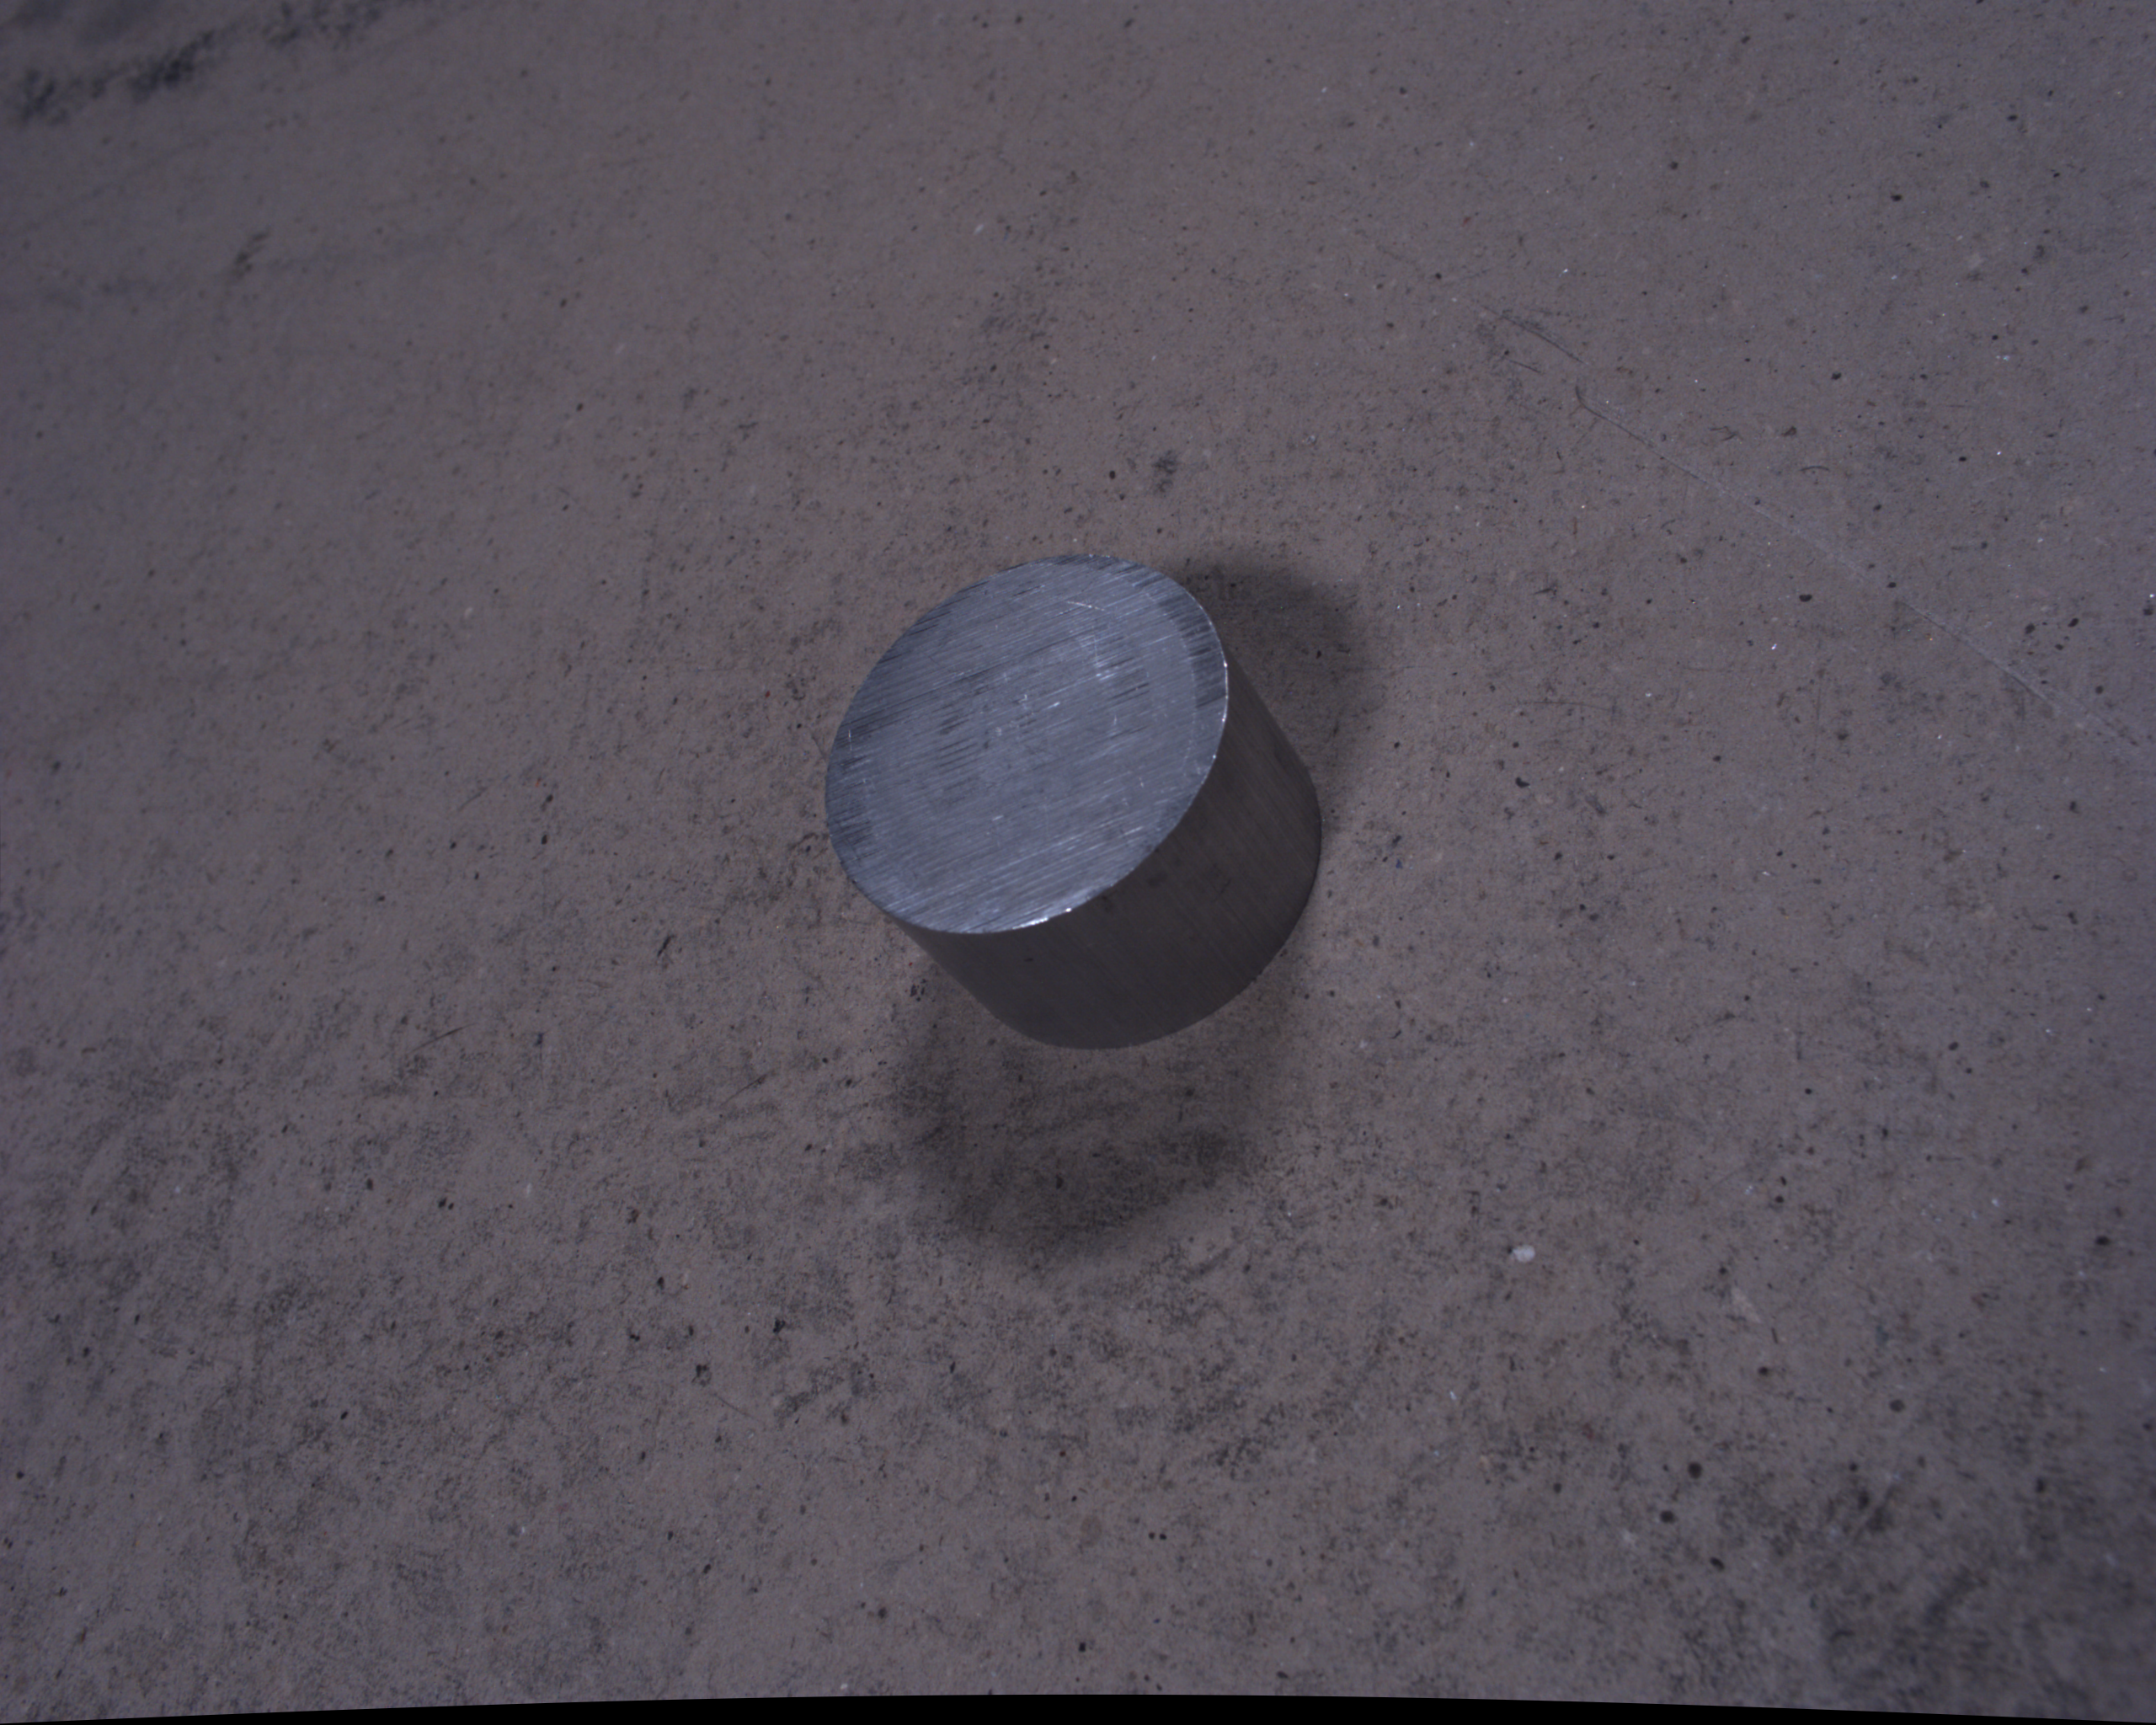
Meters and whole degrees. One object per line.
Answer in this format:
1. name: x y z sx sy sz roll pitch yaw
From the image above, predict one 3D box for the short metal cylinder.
1. short metal cylinder: 0.000 -0.011 0.395 0.080 0.050 0.080 -13 56 20
